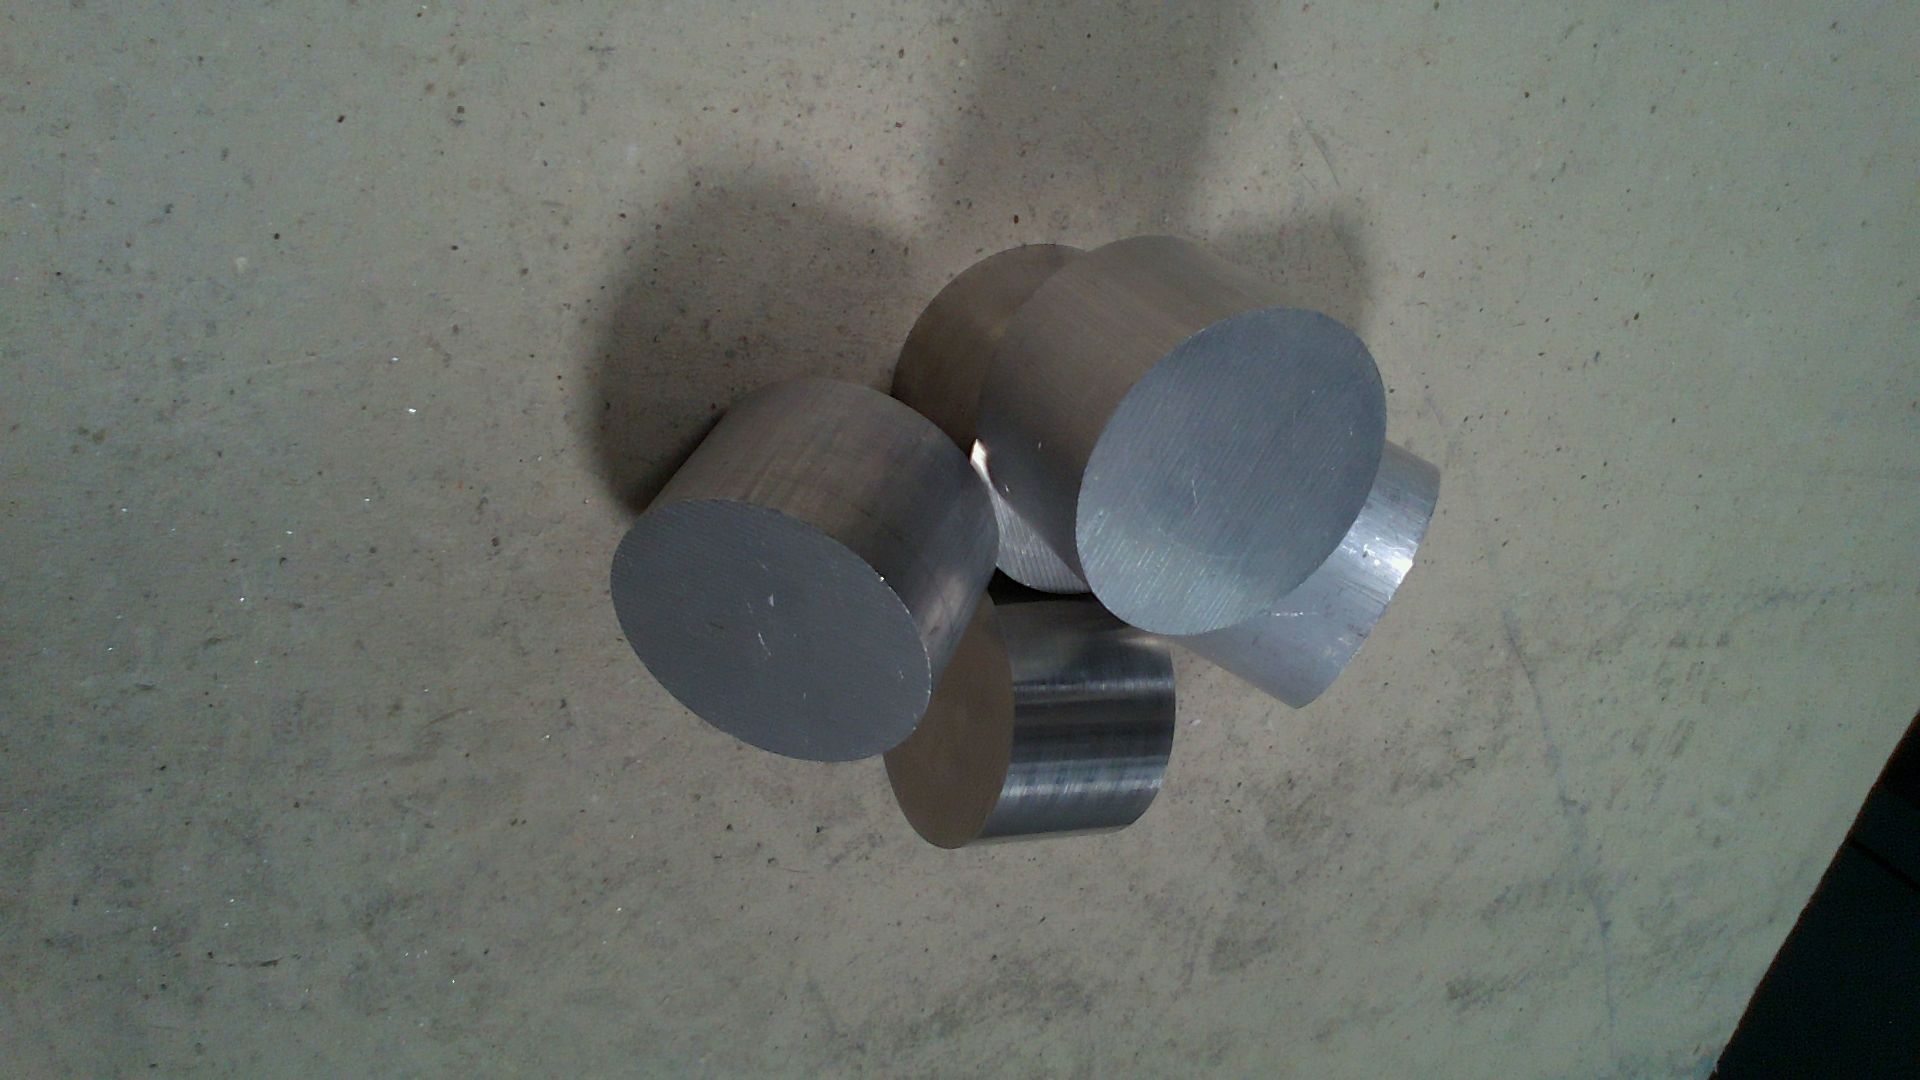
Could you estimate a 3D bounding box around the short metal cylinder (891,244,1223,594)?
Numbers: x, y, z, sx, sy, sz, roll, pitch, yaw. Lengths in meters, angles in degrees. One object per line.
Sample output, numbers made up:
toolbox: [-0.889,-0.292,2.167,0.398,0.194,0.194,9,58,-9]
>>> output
short metal cylinder: [0.028,-0.033,0.368,0.080,0.050,0.080,-14,124,-21]

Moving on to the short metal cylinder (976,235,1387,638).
short metal cylinder: [0.051,-0.024,0.320,0.080,0.050,0.080,-14,124,-21]

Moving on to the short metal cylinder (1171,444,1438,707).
short metal cylinder: [0.093,0.001,0.397,0.050,0.080,0.080,28,106,3]

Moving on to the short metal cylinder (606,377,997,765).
short metal cylinder: [-0.037,0.008,0.332,0.080,0.050,0.080,12,131,14]

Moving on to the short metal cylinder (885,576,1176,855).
short metal cylinder: [0.017,0.046,0.390,0.050,0.080,0.080,2,118,-29]
